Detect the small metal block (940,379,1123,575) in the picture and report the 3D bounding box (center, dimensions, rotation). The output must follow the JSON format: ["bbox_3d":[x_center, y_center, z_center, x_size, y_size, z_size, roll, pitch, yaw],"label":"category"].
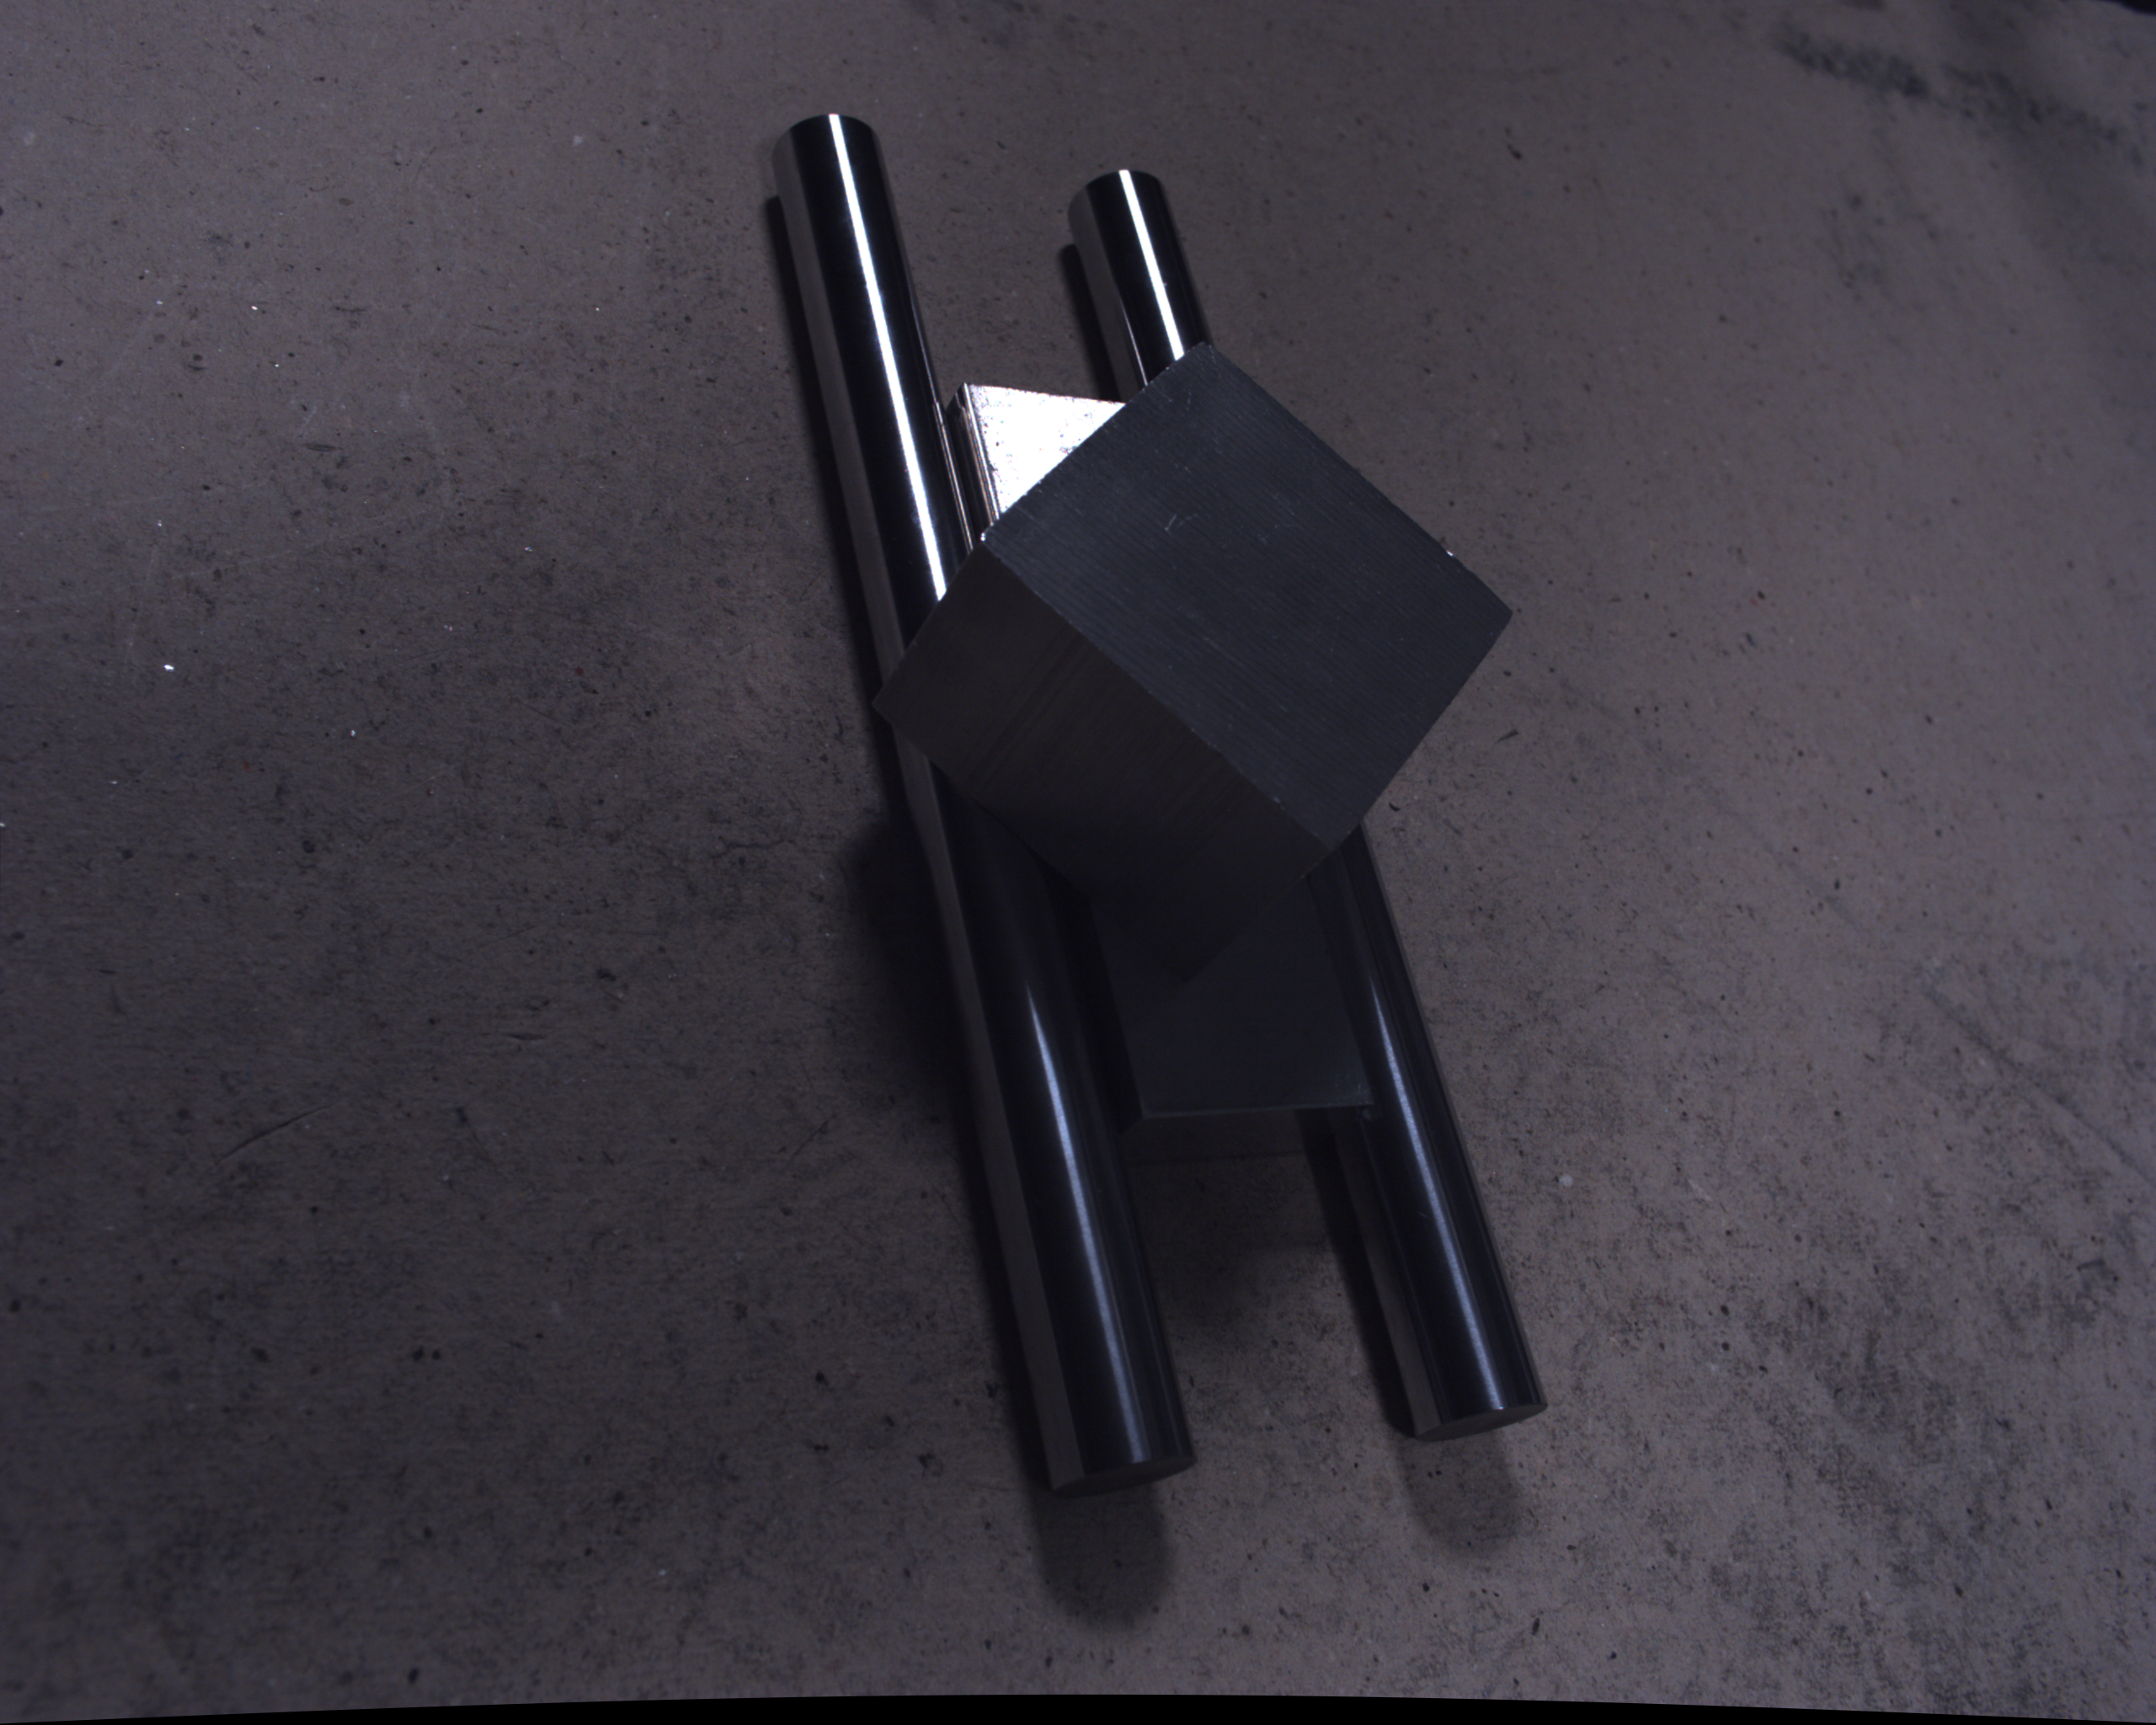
[{"bbox_3d":[-0.002,-0.074,0.449,0.050,0.025,0.050,1,61,-28],"label":"small metal block"}]

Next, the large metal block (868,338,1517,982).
[{"bbox_3d":[0.023,-0.039,0.392,0.080,0.050,0.080,42,51,0],"label":"large metal block"}]

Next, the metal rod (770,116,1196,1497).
[{"bbox_3d":[-0.025,-0.029,0.411,0.025,0.025,0.299,1,61,-28],"label":"metal rod"}]

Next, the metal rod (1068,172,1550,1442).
[{"bbox_3d":[0.042,-0.028,0.448,0.025,0.025,0.299,1,61,-28],"label":"metal rod"}]

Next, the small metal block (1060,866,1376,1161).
[{"bbox_3d":[0.023,0.029,0.401,0.050,0.025,0.050,1,61,-28],"label":"small metal block"}]
